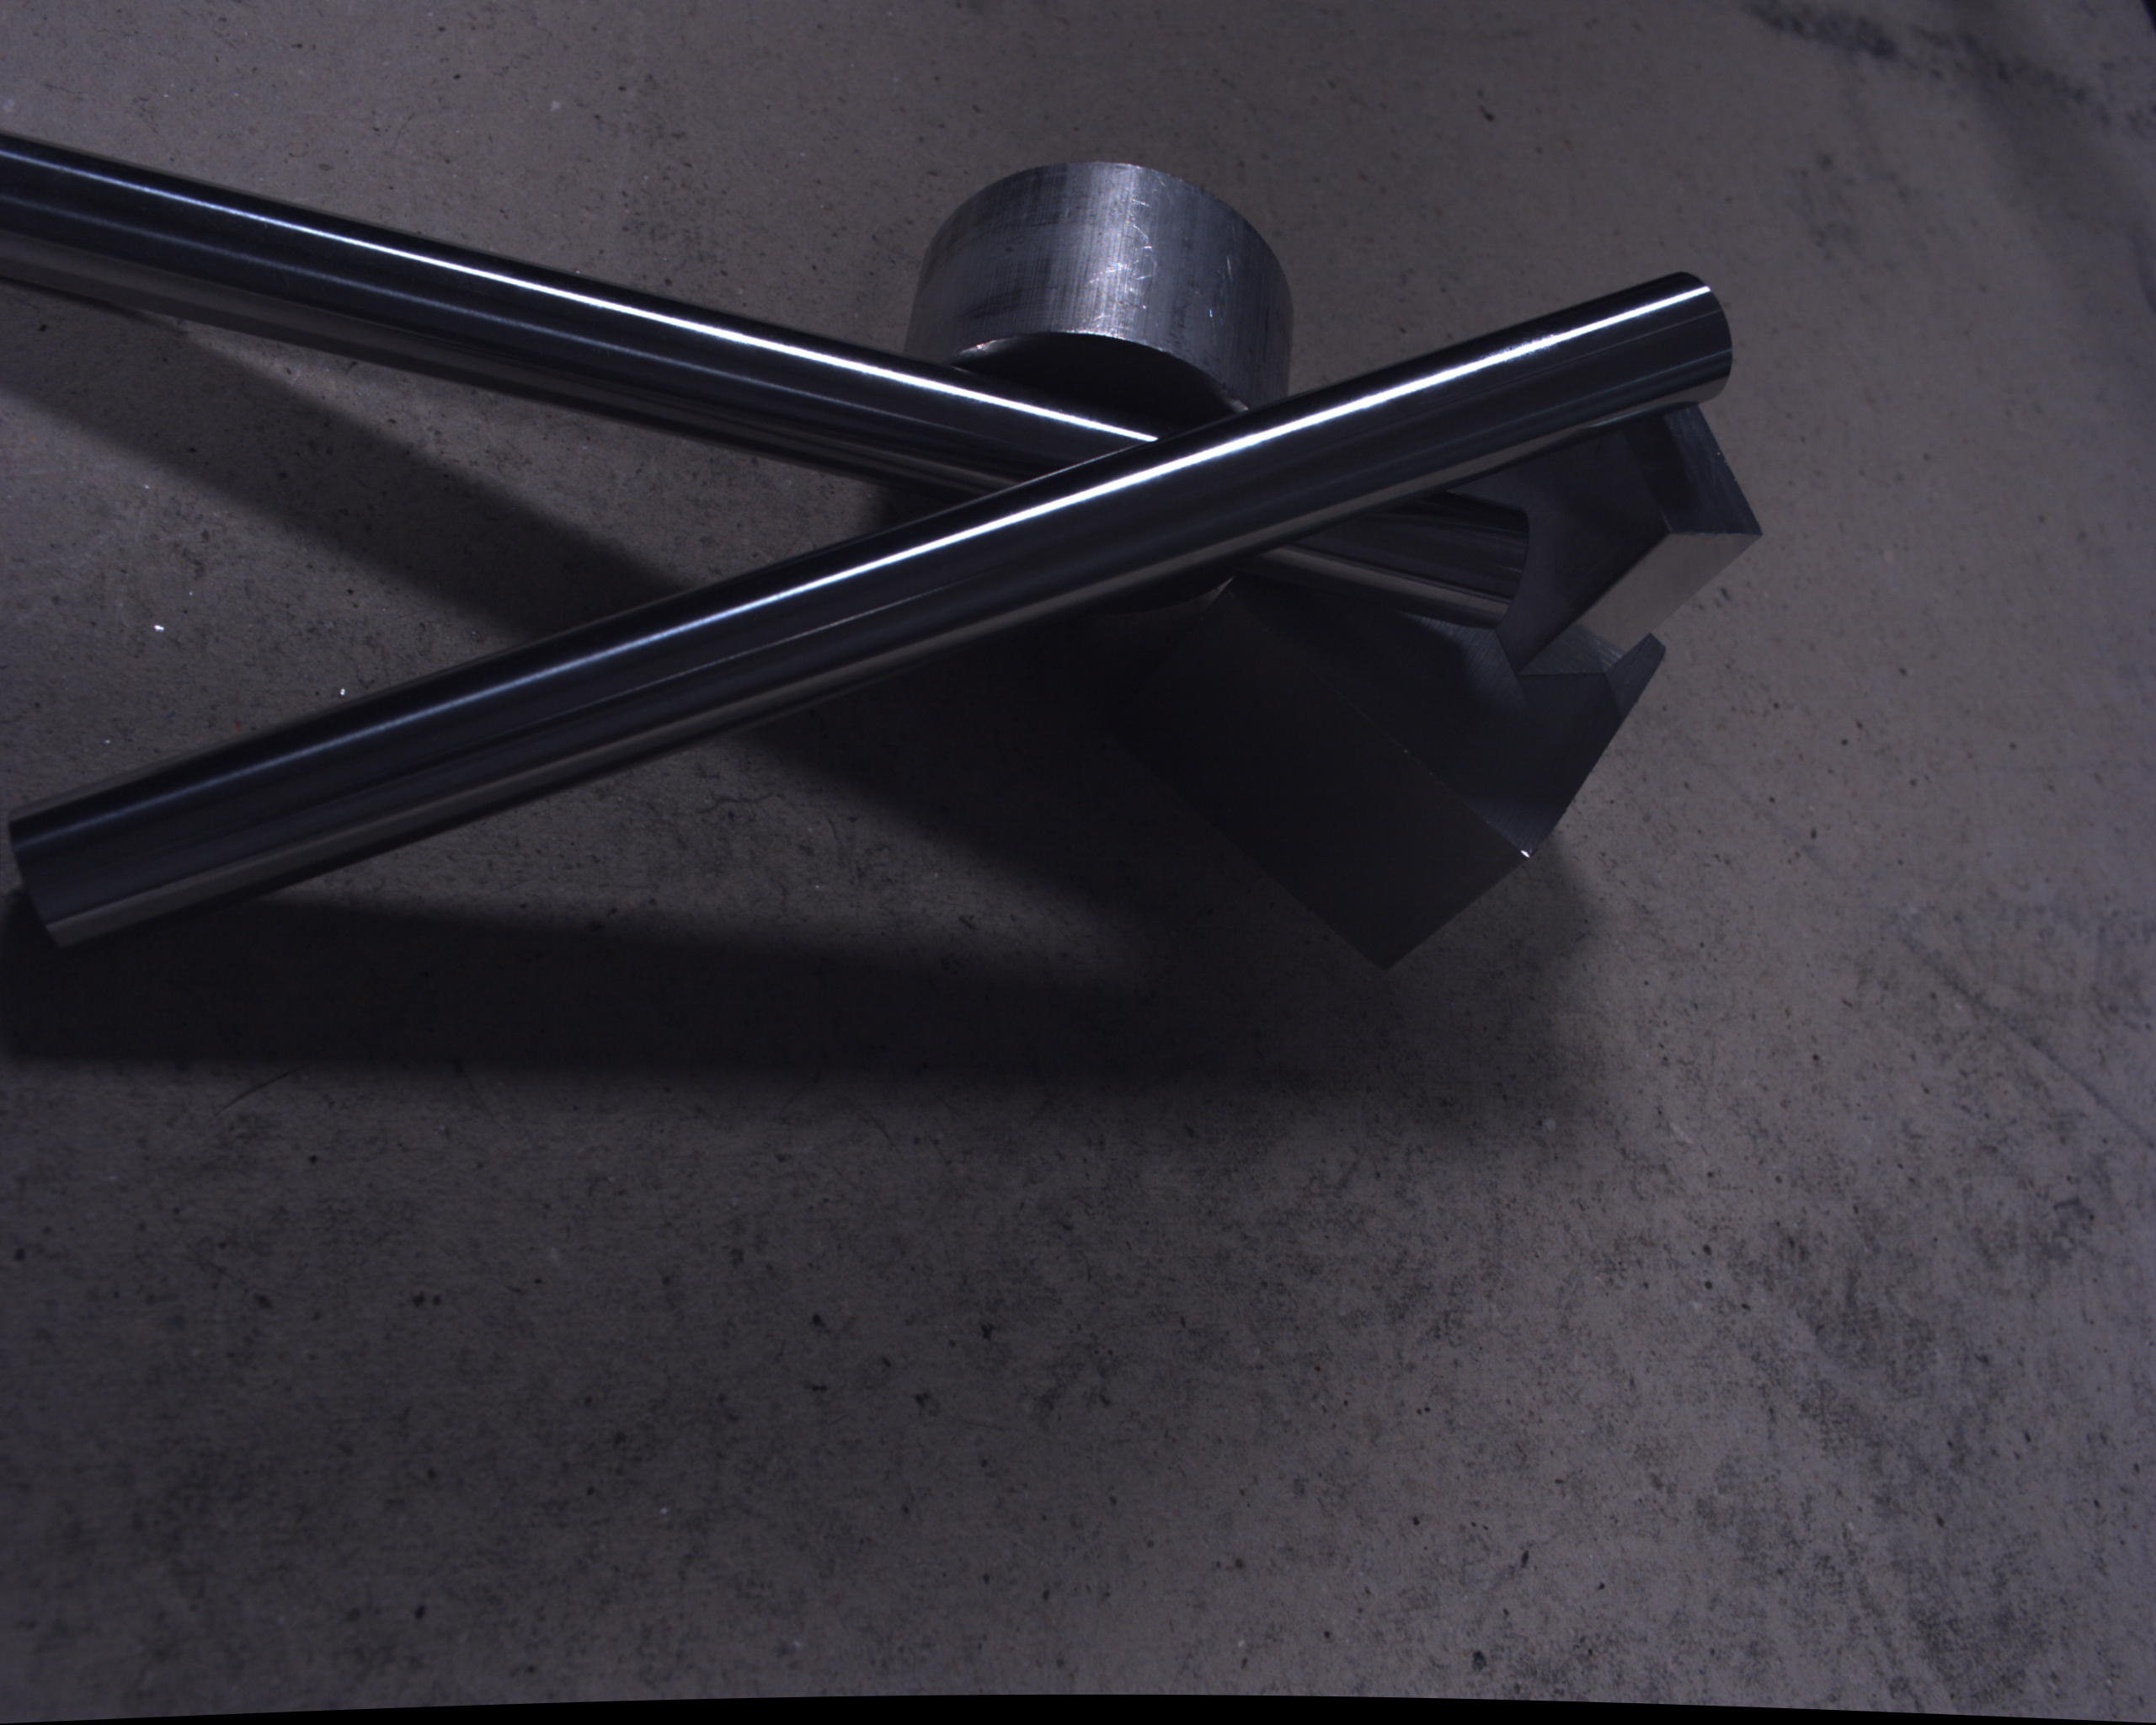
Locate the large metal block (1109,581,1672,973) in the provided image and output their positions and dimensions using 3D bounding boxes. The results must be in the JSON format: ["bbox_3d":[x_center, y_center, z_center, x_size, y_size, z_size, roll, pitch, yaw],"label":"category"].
[{"bbox_3d":[0.068,-0.038,0.449,0.080,0.050,0.080,41,52,0],"label":"large metal block"}]

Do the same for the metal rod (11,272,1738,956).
[{"bbox_3d":[-0.021,-0.048,0.357,0.302,0.025,0.025,-20,72,-14],"label":"metal rod"}]

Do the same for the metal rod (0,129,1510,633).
[{"bbox_3d":[-0.066,-0.090,0.389,0.302,0.025,0.025,12,56,-8],"label":"metal rod"}]

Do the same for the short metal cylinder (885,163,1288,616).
[{"bbox_3d":[0.002,-0.096,0.433,0.081,0.080,0.050,19,54,-18],"label":"short metal cylinder"}]

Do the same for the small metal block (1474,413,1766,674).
[{"bbox_3d":[0.104,-0.073,0.424,0.025,0.050,0.050,-5,64,-30],"label":"small metal block"}]
